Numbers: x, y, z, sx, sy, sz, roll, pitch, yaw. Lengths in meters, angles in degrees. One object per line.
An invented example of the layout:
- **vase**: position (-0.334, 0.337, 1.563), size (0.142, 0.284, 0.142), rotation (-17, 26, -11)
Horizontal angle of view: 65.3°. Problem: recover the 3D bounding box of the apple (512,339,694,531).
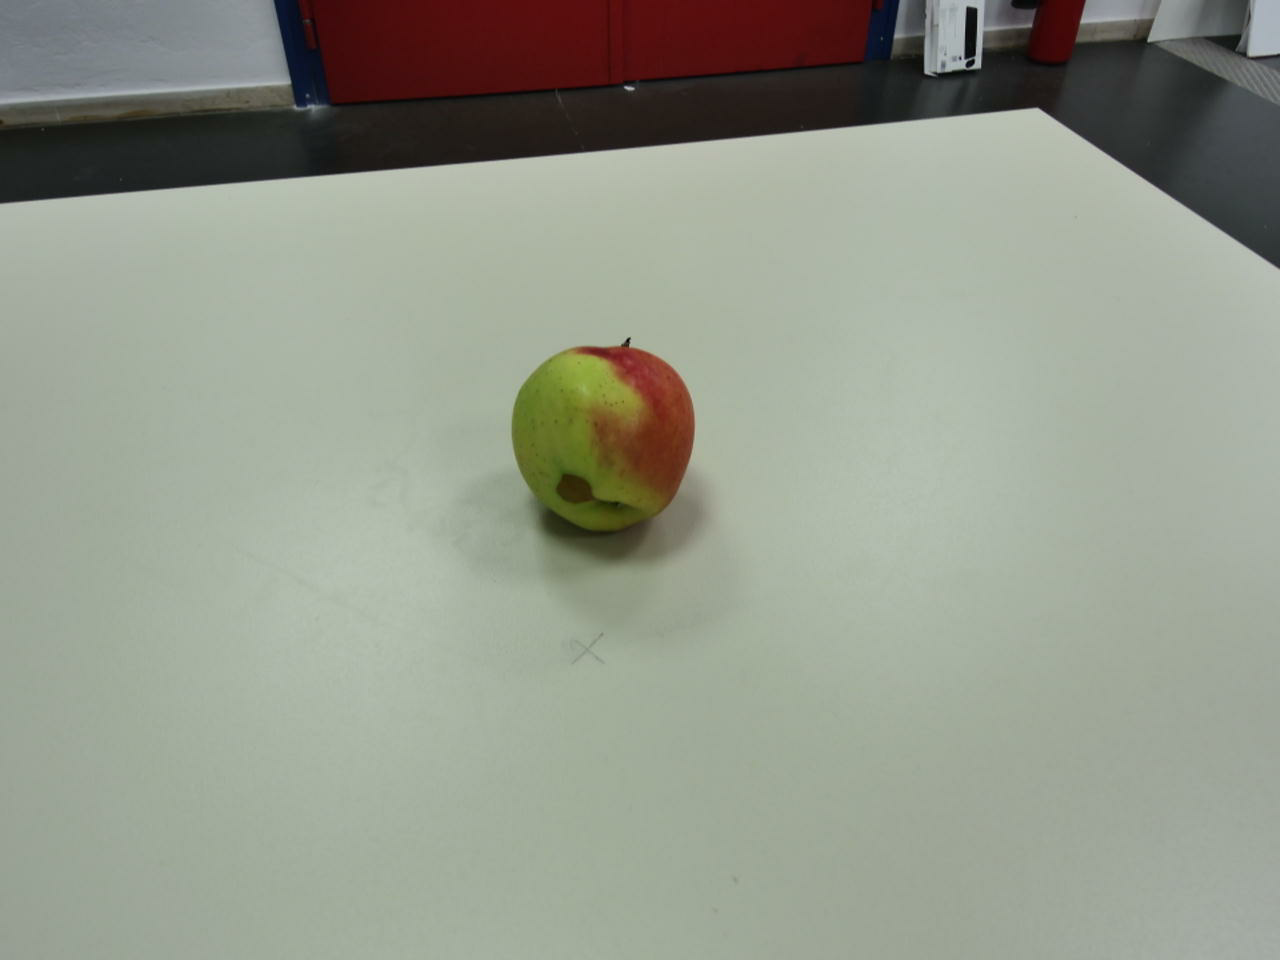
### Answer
- **apple**: position (-0.014, -0.018, 0.404), size (0.075, 0.074, 0.075), rotation (-21, 43, -26)
